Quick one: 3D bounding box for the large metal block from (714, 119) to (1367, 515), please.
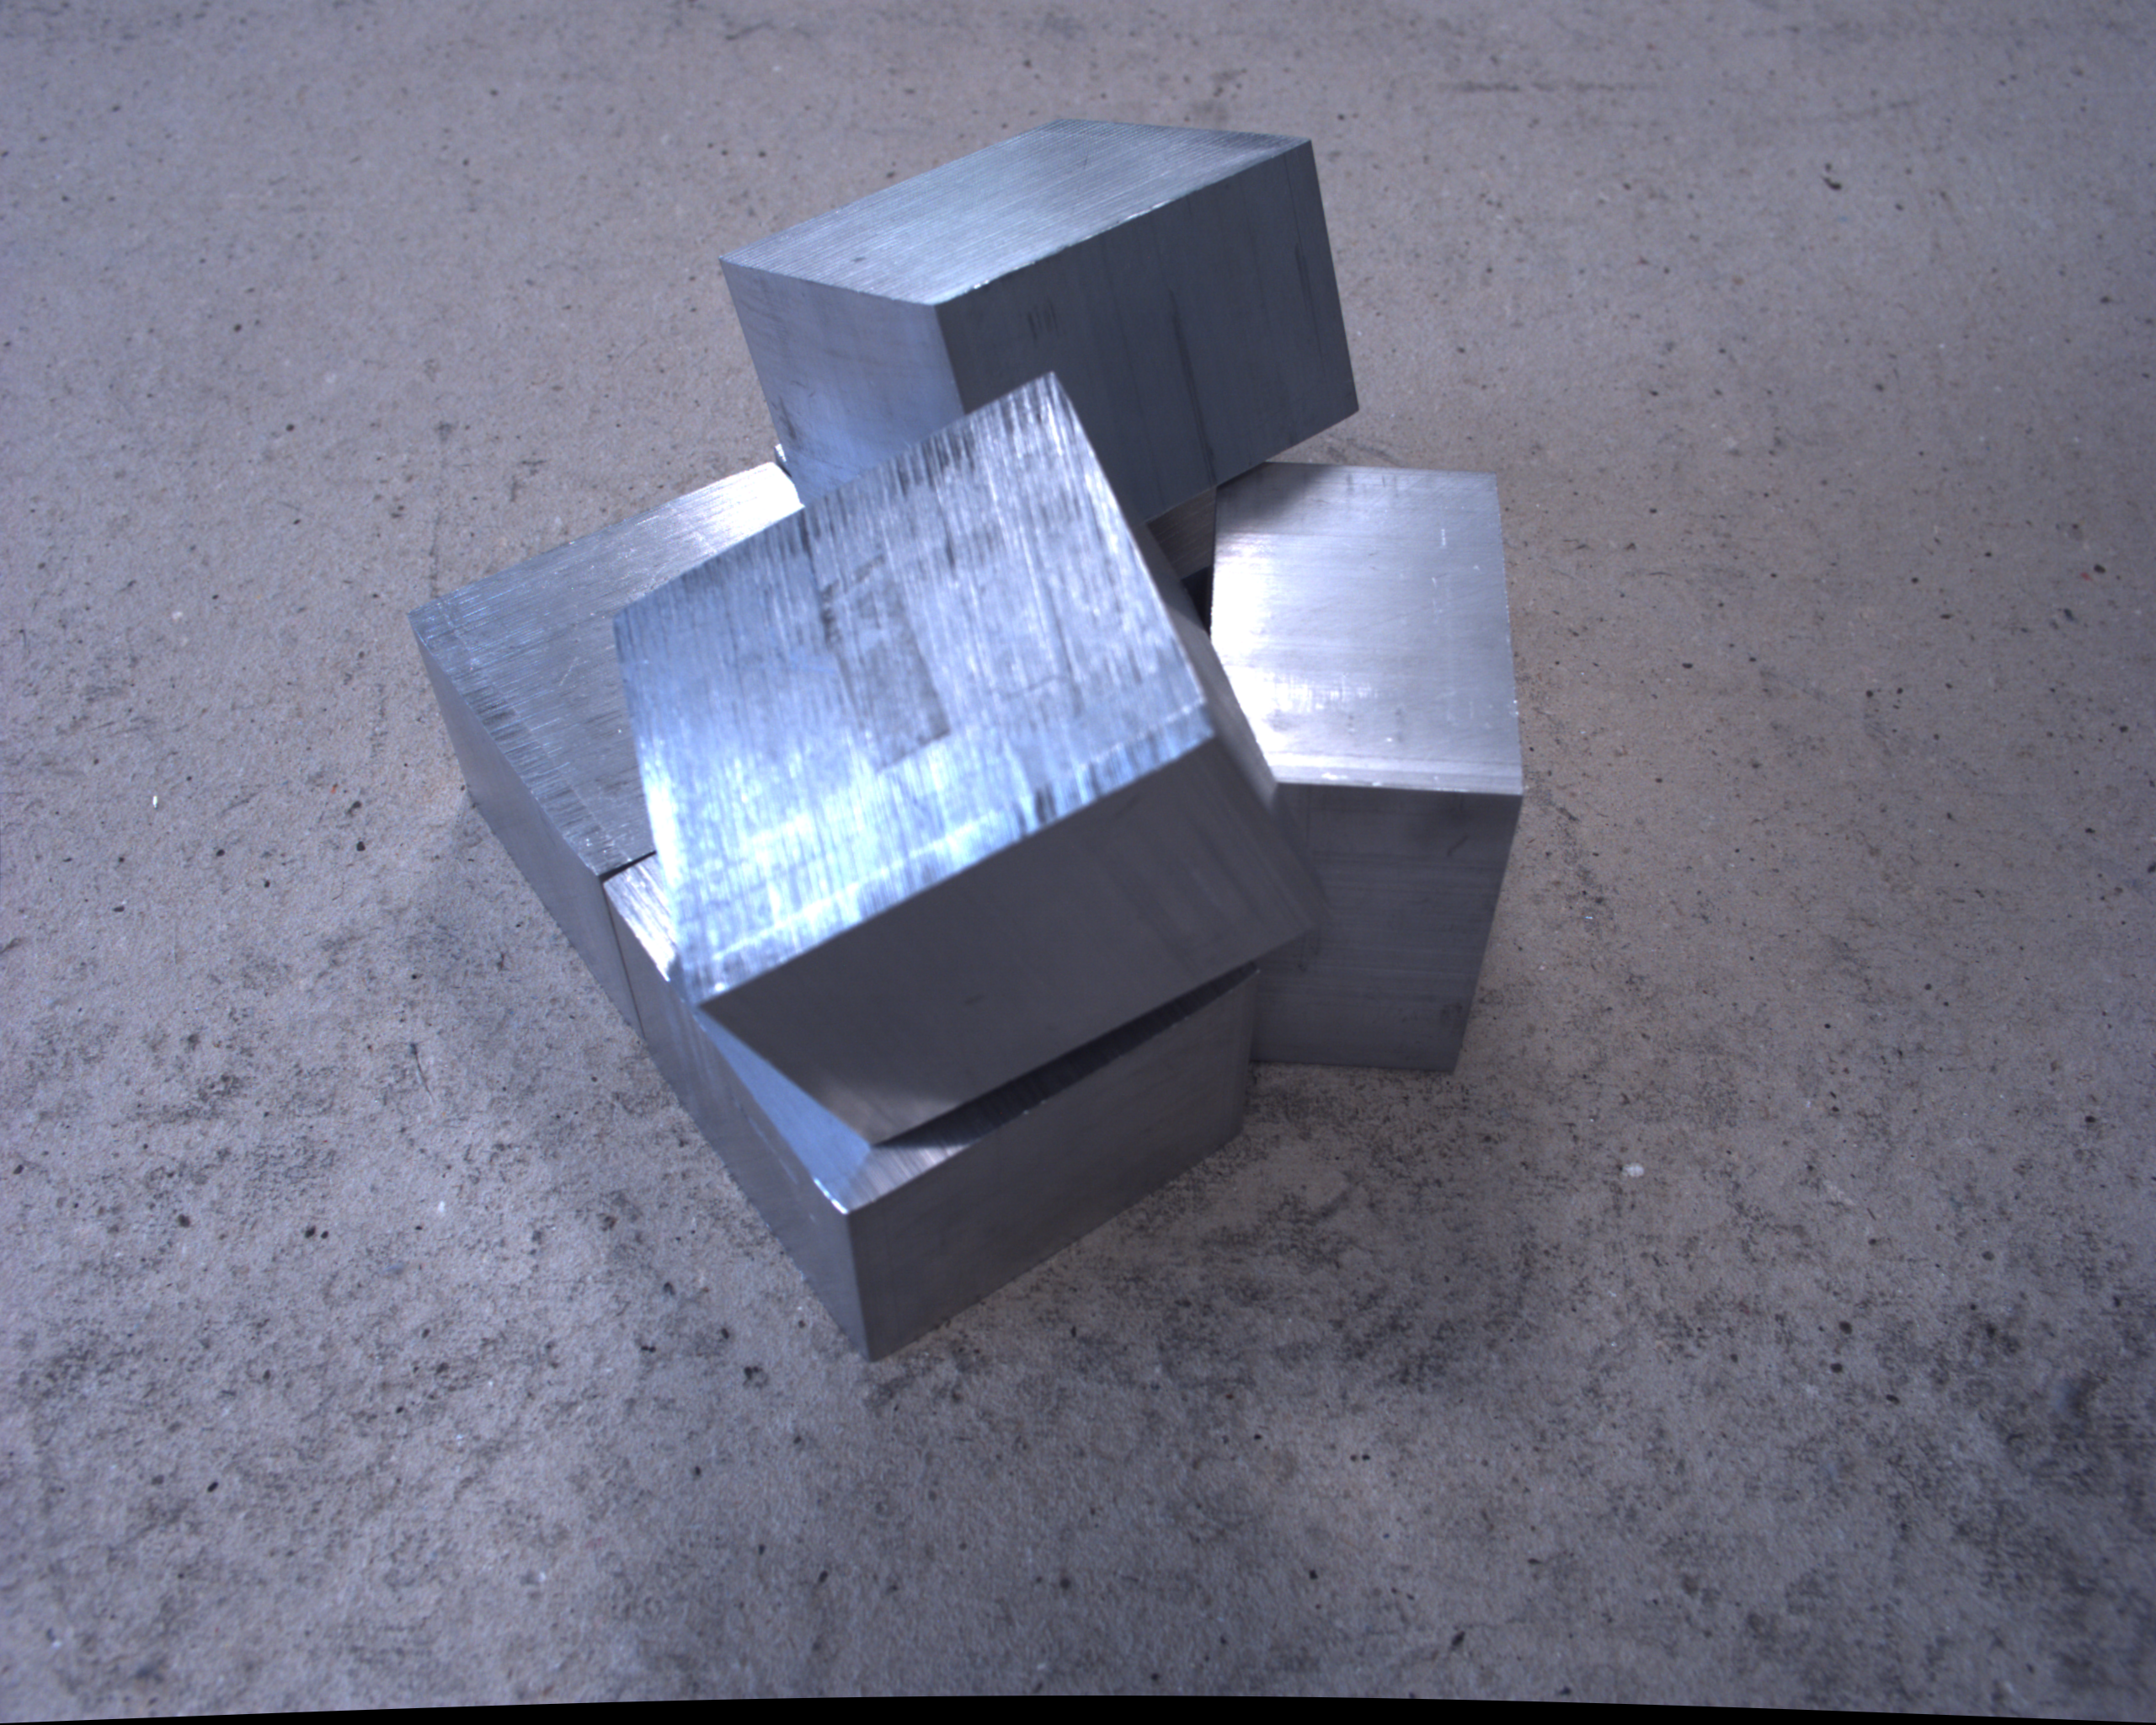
[{"bbox_3d":[-0.007,-0.098,0.385,0.081,0.050,0.080,-30,33,-23],"label":"large metal block"}]

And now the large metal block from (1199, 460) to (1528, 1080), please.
[{"bbox_3d":[0.048,-0.017,0.384,0.050,0.080,0.080,3,50,2],"label":"large metal block"}]

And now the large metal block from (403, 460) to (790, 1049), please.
[{"bbox_3d":[-0.072,-0.023,0.409,0.081,0.050,0.080,-28,56,-22],"label":"large metal block"}]

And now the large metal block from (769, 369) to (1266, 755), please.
[{"bbox_3d":[-0.007,-0.062,0.438,0.081,0.050,0.080,-28,55,-23],"label":"large metal block"}]

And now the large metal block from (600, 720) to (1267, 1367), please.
[{"bbox_3d":[-0.025,0.026,0.368,0.081,0.050,0.080,-29,56,-22],"label":"large metal block"}]

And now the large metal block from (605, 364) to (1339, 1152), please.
[{"bbox_3d":[-0.018,-0.016,0.317,0.080,0.050,0.080,-28,52,9],"label":"large metal block"}]
